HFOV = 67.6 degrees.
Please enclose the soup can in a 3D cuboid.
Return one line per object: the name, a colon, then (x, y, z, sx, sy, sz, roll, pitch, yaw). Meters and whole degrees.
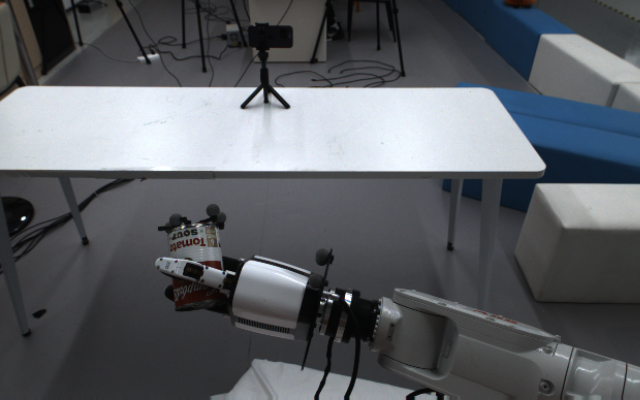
soup can: (-0.158, 0.089, 0.629, 0.067, 0.067, 0.101, -8, 73, -14)
